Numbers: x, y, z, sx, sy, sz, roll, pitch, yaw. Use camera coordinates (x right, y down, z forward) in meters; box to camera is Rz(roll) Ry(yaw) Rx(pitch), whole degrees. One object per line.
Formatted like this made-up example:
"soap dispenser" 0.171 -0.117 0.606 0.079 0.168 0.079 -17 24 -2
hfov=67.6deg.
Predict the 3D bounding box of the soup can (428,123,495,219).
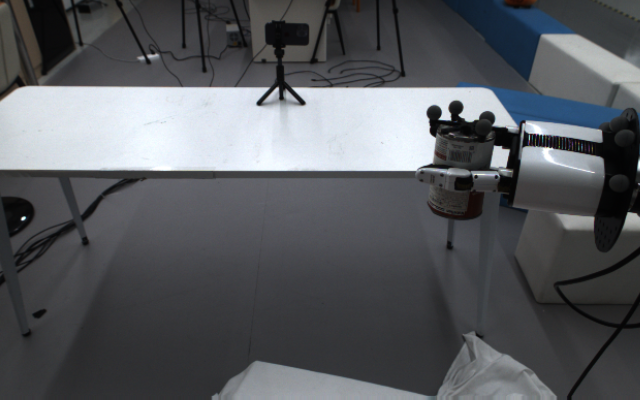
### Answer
"soup can" 0.171 -0.037 0.585 0.067 0.101 0.067 1 25 0
